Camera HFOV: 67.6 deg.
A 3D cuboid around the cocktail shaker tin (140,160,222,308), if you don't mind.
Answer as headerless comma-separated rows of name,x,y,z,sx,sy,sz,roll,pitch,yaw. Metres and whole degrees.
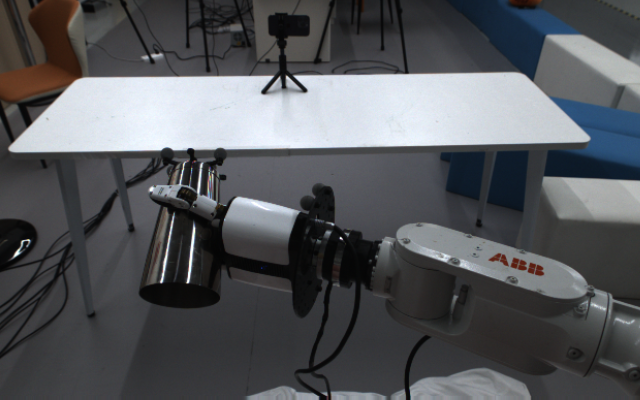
cocktail shaker tin,-0.166,0.039,0.600,0.093,0.093,0.170,0,59,-3
